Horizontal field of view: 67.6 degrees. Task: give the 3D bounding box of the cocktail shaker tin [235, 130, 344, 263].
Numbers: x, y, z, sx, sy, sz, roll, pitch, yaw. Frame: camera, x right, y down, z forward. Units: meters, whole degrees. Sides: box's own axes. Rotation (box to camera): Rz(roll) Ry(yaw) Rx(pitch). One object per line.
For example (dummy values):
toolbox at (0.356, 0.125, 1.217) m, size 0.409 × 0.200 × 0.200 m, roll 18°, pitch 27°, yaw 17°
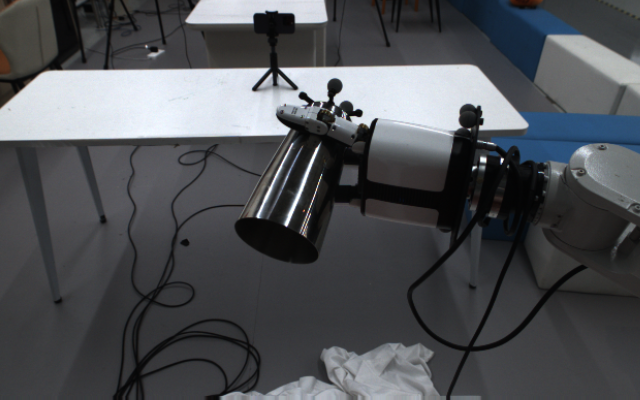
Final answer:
cocktail shaker tin at (-0.018, -0.028, 0.536) m, size 0.093 × 0.093 × 0.170 m, roll 13°, pitch 59°, yaw 16°
